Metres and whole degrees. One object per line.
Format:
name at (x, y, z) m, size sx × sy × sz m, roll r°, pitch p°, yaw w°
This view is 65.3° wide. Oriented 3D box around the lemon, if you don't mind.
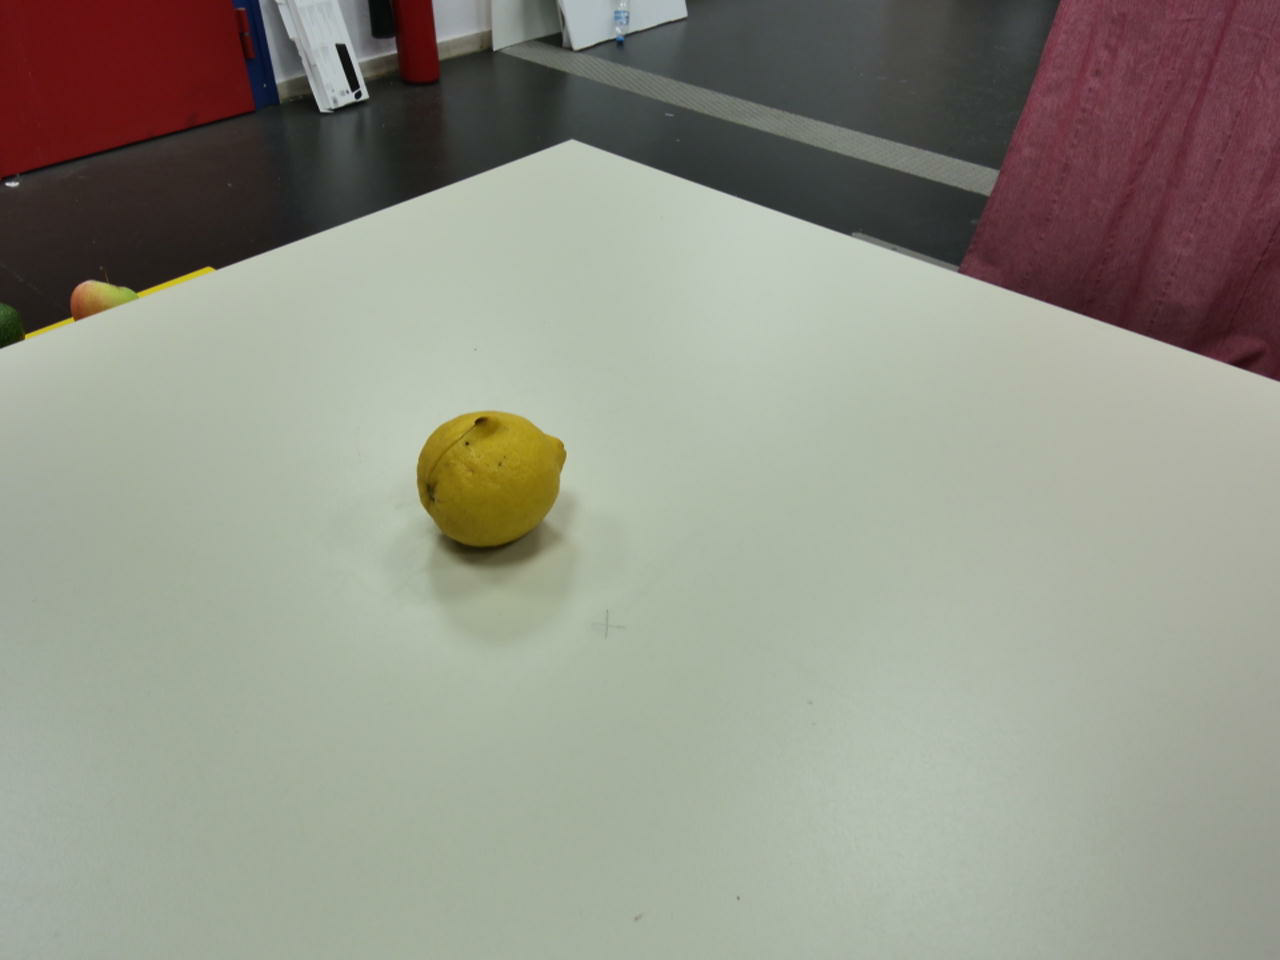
lemon at (-0.077, -0.004, 0.502) m, size 0.071 × 0.071 × 0.070 m, roll 4°, pitch 37°, yaw 5°
